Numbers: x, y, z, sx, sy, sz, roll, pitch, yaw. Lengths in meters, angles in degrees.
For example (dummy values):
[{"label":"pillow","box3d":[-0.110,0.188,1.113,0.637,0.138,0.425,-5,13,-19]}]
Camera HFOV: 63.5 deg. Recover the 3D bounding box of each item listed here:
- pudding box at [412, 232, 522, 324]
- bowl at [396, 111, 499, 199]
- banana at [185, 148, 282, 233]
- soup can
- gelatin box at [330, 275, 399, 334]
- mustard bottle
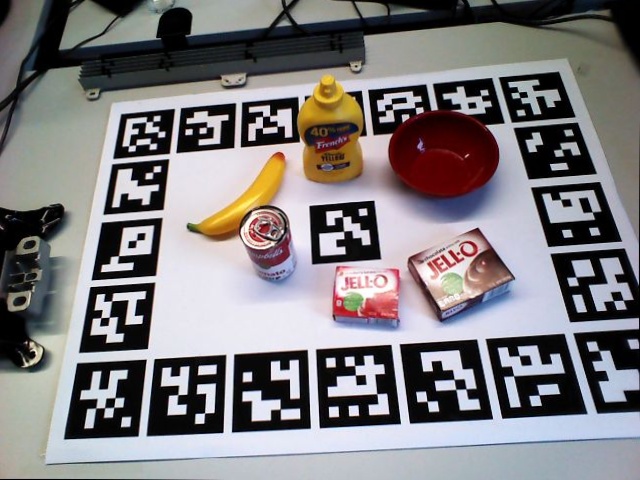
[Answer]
[{"label":"pudding box","box3d":[0.196,0.049,0.701,0.114,0.039,0.090,-25,67,-7]},{"label":"bowl","box3d":[0.197,-0.118,0.787,0.162,0.055,0.161,-4,60,6]},{"label":"banana","box3d":[-0.119,-0.072,0.803,0.074,0.039,0.196,32,69,32]},{"label":"soup can","box3d":[-0.077,0.003,0.711,0.068,0.102,0.067,-2,59,3]},{"label":"gelatin box","box3d":[0.061,0.086,0.701,0.090,0.030,0.073,2,65,8]},{"label":"mustard bottle","box3d":[0.019,-0.161,0.736,0.096,0.192,0.058,-4,58,4]}]
